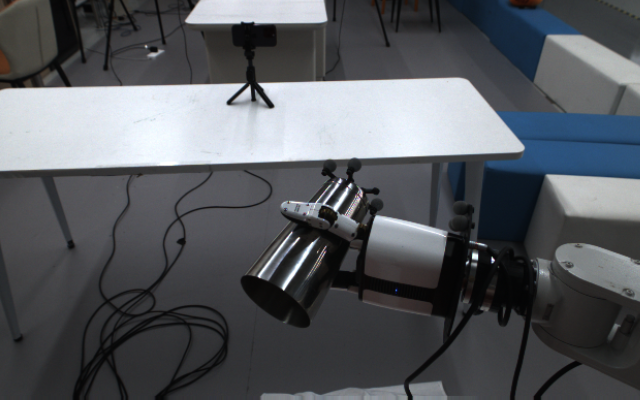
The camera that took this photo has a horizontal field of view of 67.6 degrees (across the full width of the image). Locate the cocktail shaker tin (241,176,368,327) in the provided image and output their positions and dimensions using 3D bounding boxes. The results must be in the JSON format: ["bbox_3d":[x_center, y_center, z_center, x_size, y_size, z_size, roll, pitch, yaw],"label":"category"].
[{"bbox_3d":[-0.006,0.049,0.572,0.093,0.093,0.170,19,54,23],"label":"cocktail shaker tin"}]
